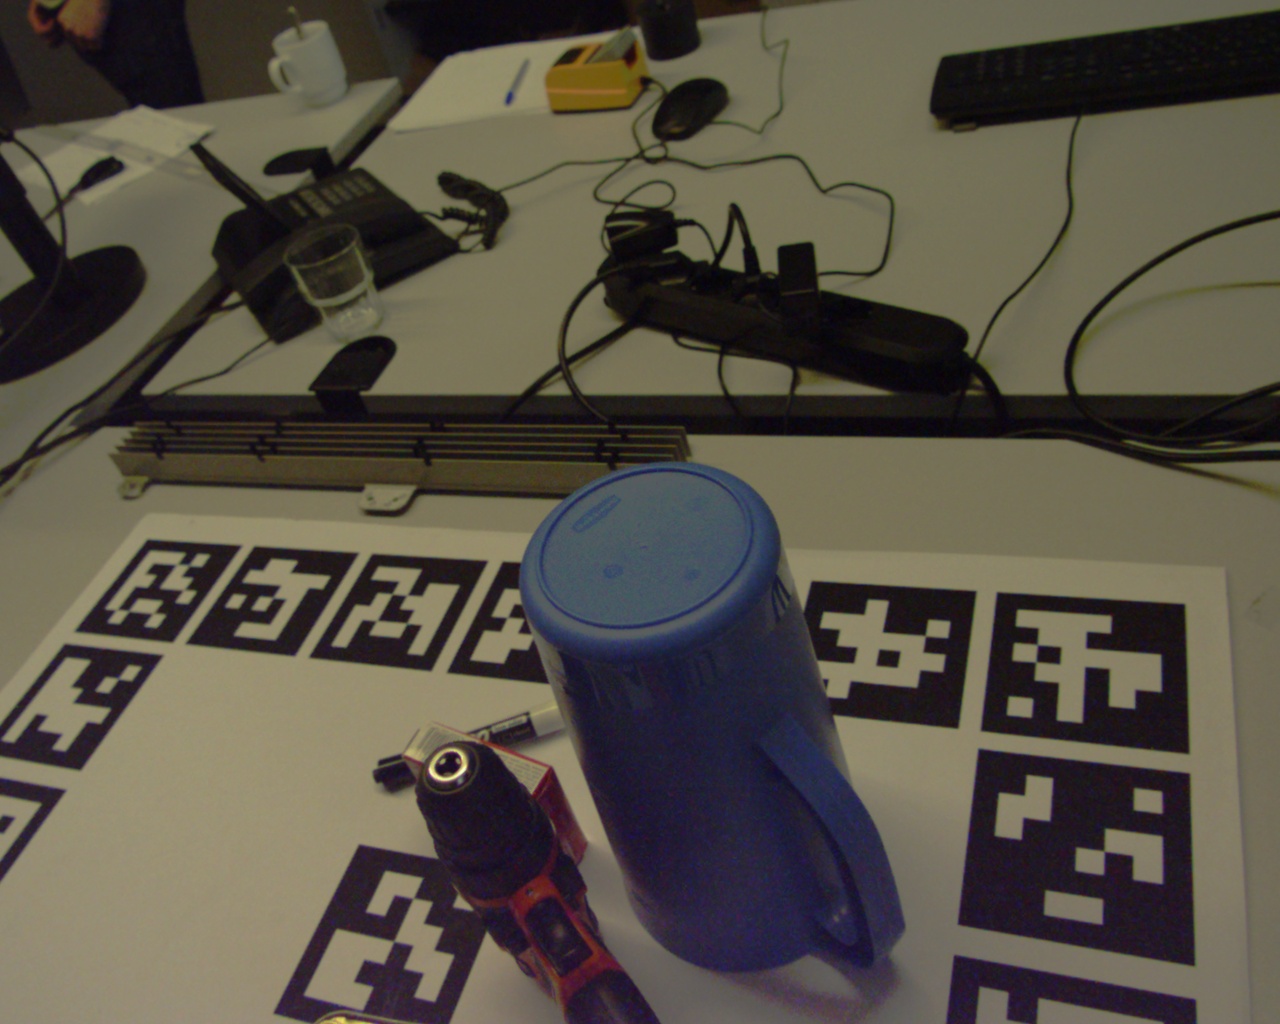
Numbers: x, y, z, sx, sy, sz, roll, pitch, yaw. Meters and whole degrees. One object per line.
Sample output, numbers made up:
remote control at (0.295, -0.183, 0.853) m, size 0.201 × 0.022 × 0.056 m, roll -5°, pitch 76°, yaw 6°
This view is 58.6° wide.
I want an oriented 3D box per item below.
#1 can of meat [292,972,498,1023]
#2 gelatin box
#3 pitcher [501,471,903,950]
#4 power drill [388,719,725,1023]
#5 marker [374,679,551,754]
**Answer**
can of meat at (-0.105, 0.268, 0.541) m, size 0.103 × 0.083 × 0.057 m, roll 2°, pitch 44°, yaw 21°
gelatin box at (-0.084, 0.156, 0.662) m, size 0.090 × 0.072 × 0.030 m, roll 12°, pitch 55°, yaw 28°
pitcher at (0.033, 0.104, 0.556) m, size 0.132 × 0.240 × 0.191 m, roll -40°, pitch 39°, yaw -17°
power drill at (-0.035, 0.192, 0.525) m, size 0.057 × 0.183 × 0.189 m, roll -38°, pitch 51°, yaw -16°
marker at (-0.113, 0.131, 0.733) m, size 0.121 × 0.019 × 0.020 m, roll -17°, pitch 43°, yaw 4°
